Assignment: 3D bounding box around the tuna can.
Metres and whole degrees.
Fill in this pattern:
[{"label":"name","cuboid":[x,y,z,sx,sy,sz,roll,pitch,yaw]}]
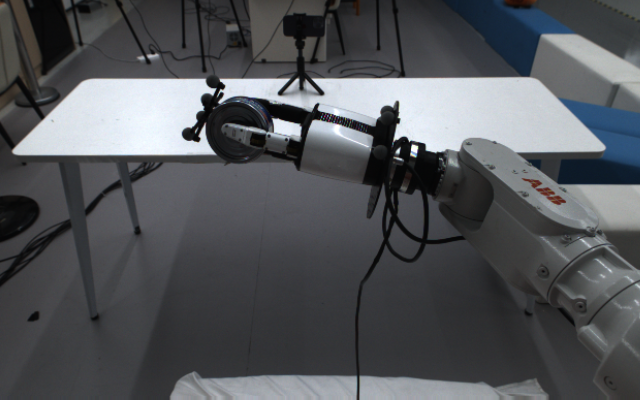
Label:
[{"label":"tuna can","cuboid":[-0.103,-0.089,0.639,0.085,0.085,0.034,3,22,2]}]
